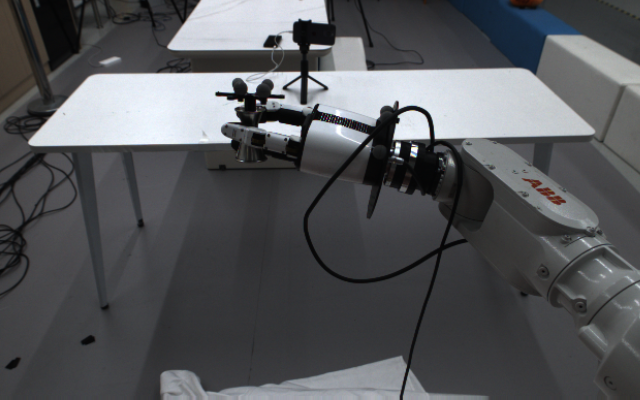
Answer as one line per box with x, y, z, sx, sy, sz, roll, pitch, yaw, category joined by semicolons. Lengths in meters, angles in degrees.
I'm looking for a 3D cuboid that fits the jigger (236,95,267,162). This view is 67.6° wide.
-0.093;-0.089;0.649;0.043;0.071;0.043;2;20;-1;jigger
